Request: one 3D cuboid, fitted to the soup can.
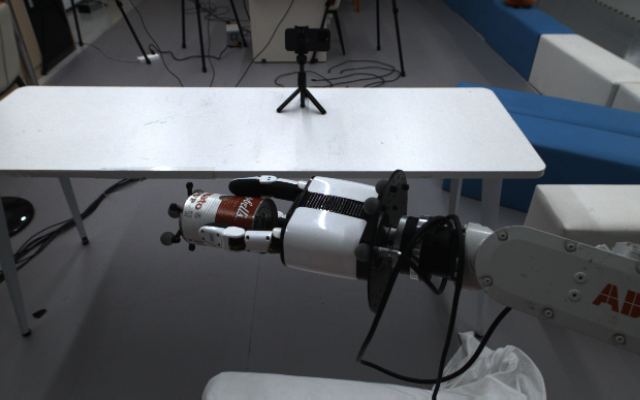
[{"bbox_3d":[-0.109,0.028,0.596,0.101,0.067,0.067,5,34,18],"label":"soup can"}]
